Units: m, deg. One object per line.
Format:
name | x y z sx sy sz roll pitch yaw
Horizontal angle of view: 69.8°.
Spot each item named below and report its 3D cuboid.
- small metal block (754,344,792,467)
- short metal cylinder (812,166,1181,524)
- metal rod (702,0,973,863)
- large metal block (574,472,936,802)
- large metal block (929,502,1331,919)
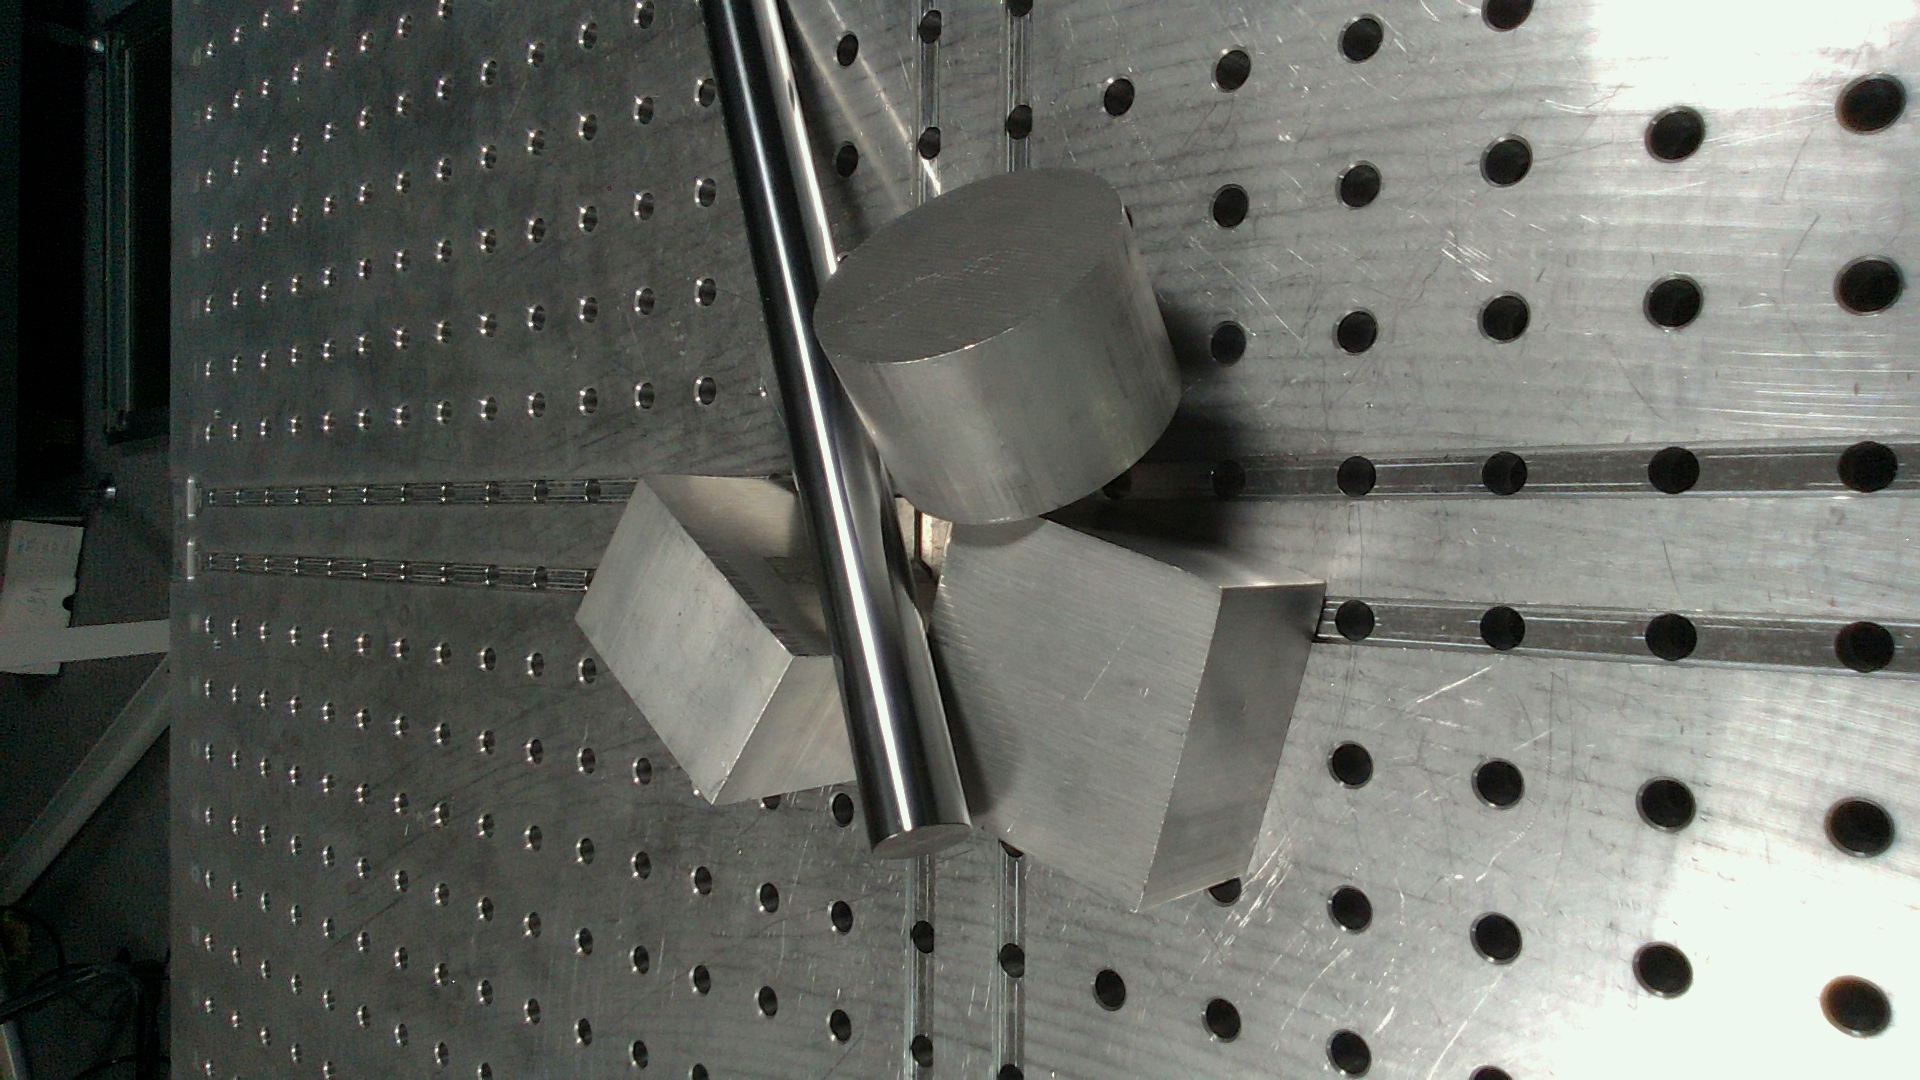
small metal block | -0.032 -0.049 0.426 0.050 0.025 0.050 -31 71 36
short metal cylinder | 0.010 -0.050 0.345 0.080 0.080 0.050 11 141 40
metal rod | -0.042 -0.057 0.394 0.025 0.025 0.300 -35 57 35
large metal block | -0.052 0.025 0.405 0.080 0.080 0.050 45 117 31
large metal block | 0.037 0.037 0.350 0.080 0.050 0.080 22 104 38
